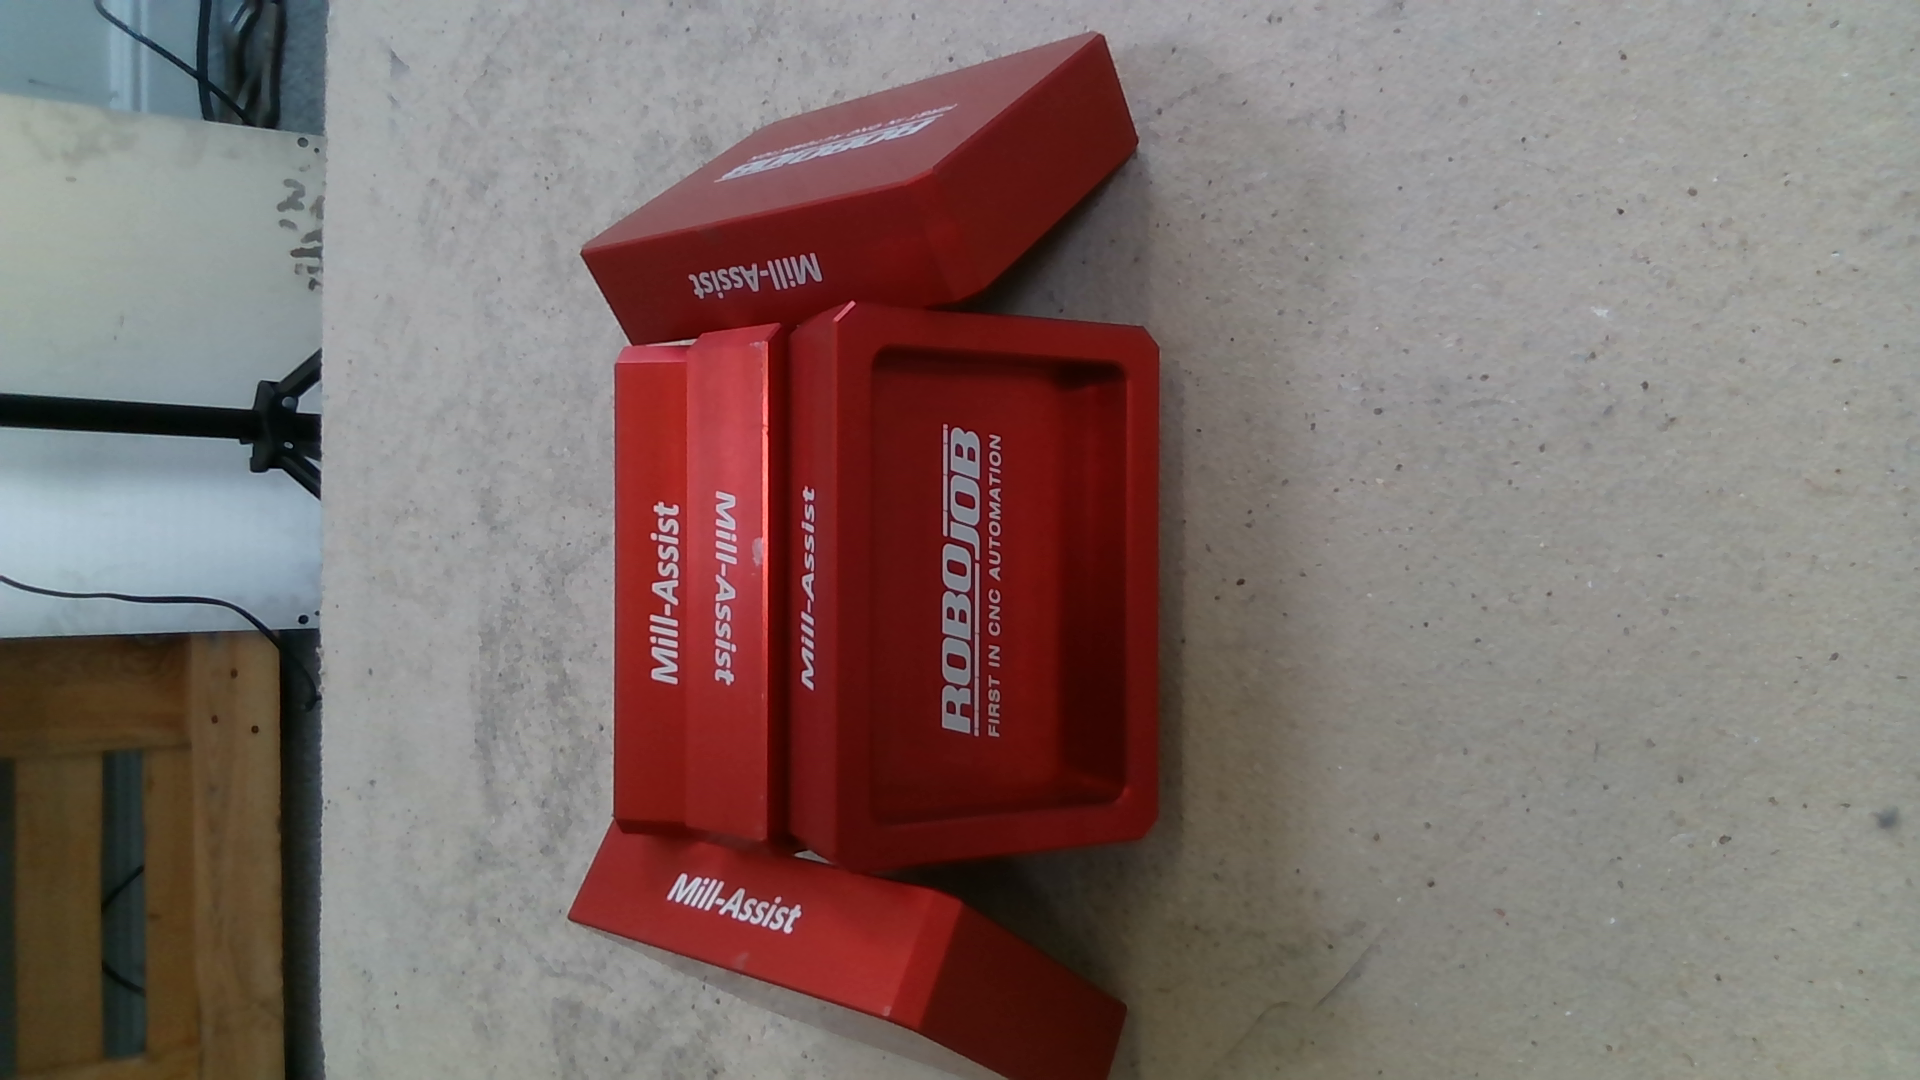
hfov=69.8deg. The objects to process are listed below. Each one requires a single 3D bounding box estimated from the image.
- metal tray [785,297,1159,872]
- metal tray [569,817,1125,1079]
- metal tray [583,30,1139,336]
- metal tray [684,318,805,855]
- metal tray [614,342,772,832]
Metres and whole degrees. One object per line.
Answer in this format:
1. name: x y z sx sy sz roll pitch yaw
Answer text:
1. metal tray: 0.004 0.010 0.342 0.030 0.090 0.130 1 91 62
2. metal tray: -0.033 0.114 0.376 0.130 0.090 0.030 1 59 40
3. metal tray: -0.029 -0.093 0.373 0.130 0.090 0.030 0 127 40
4. metal tray: -0.029 0.011 0.373 0.030 0.090 0.130 0 91 40
5. metal tray: -0.068 0.012 0.405 0.030 0.090 0.130 1 91 11
